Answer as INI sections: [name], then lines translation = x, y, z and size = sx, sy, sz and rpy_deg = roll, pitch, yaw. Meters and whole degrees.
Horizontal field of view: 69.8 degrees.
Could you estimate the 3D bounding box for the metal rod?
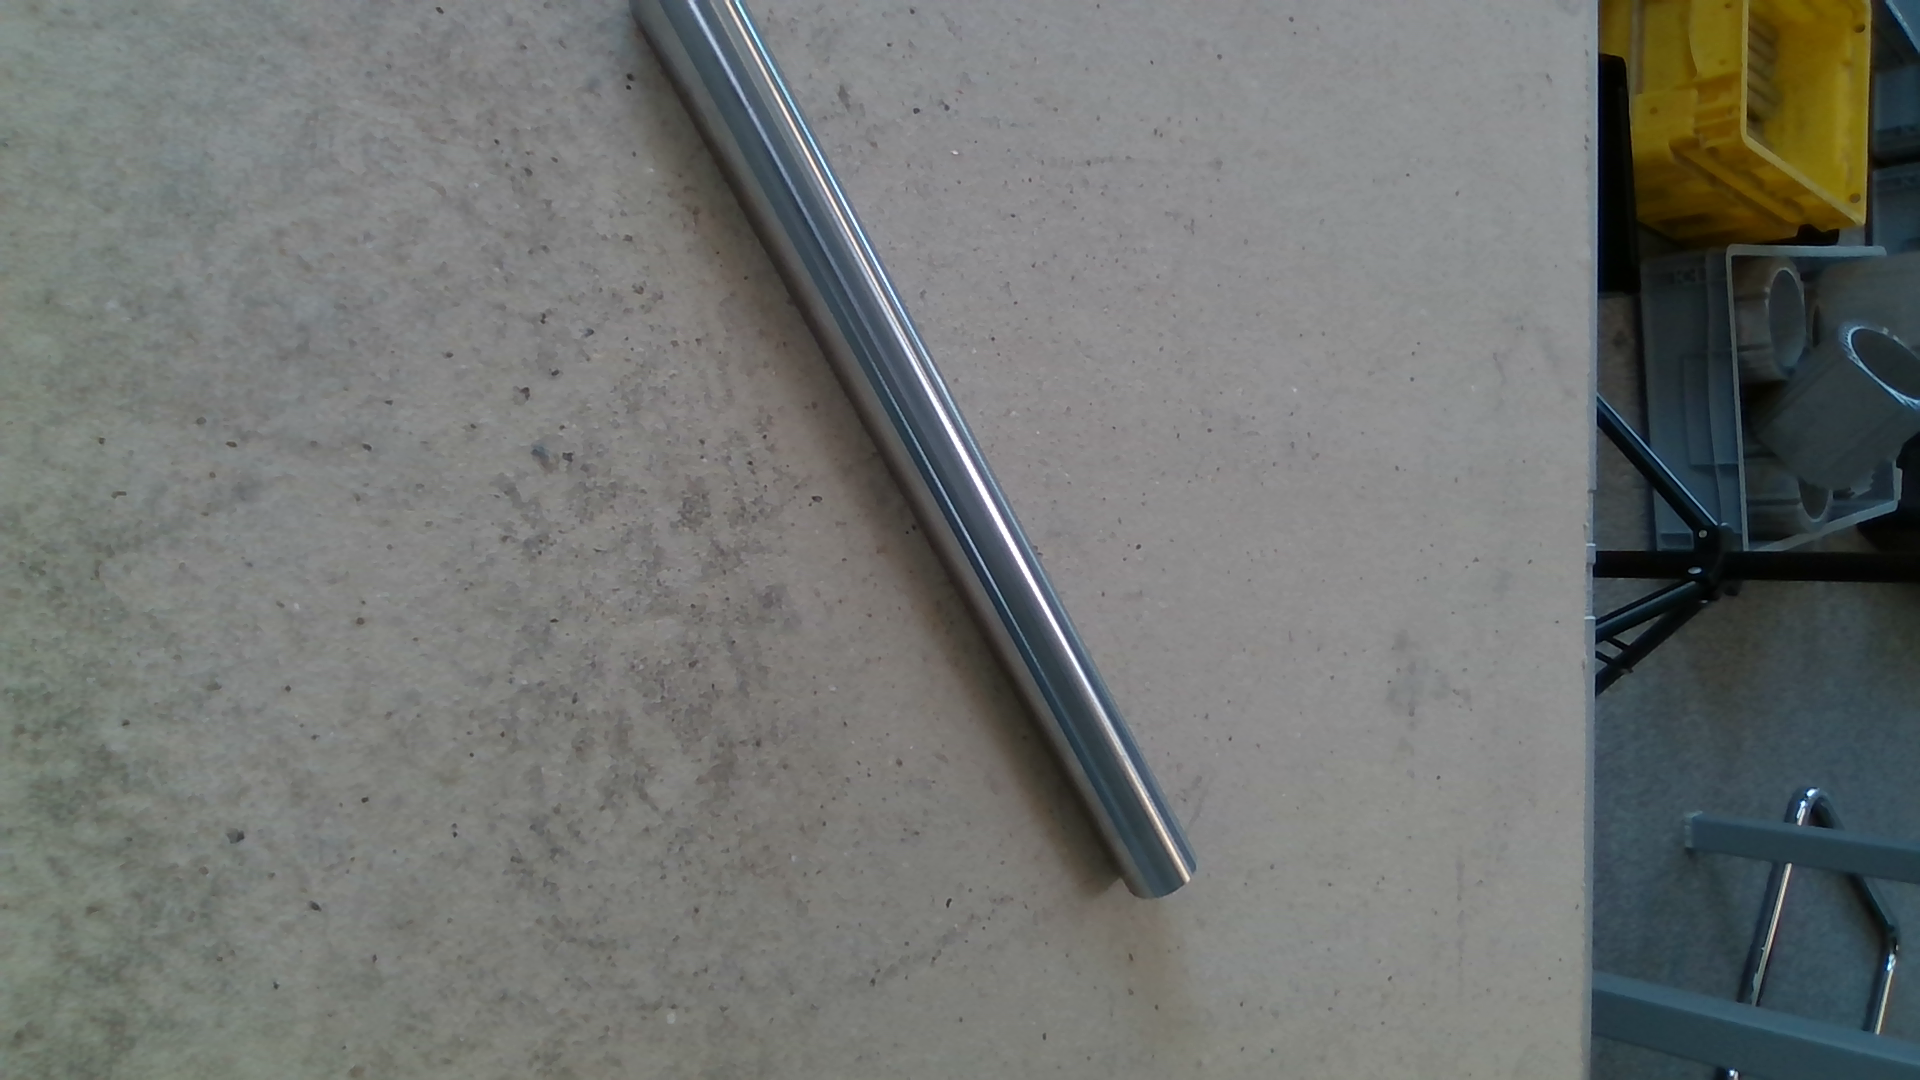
[metal rod]
translation = -0.003, -0.016, 0.389
size = 0.025, 0.025, 0.301
rpy_deg = -43, 116, -32
